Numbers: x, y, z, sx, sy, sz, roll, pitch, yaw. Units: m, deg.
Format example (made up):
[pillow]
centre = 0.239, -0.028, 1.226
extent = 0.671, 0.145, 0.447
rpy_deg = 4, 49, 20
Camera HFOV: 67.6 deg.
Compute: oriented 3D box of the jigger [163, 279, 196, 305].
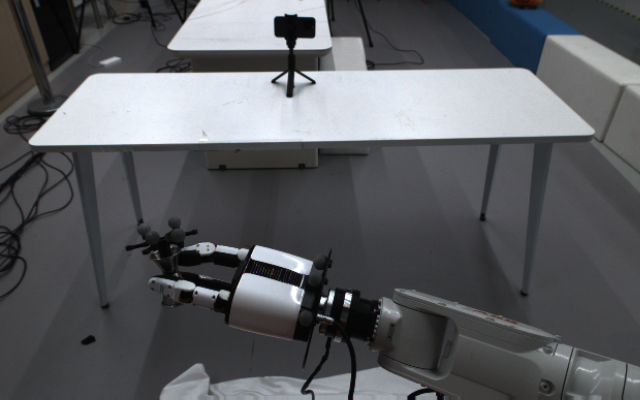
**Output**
[jigger]
centre = -0.192, 0.099, 0.635
extent = 0.043, 0.071, 0.043
rpy_deg = -9, 16, 3
